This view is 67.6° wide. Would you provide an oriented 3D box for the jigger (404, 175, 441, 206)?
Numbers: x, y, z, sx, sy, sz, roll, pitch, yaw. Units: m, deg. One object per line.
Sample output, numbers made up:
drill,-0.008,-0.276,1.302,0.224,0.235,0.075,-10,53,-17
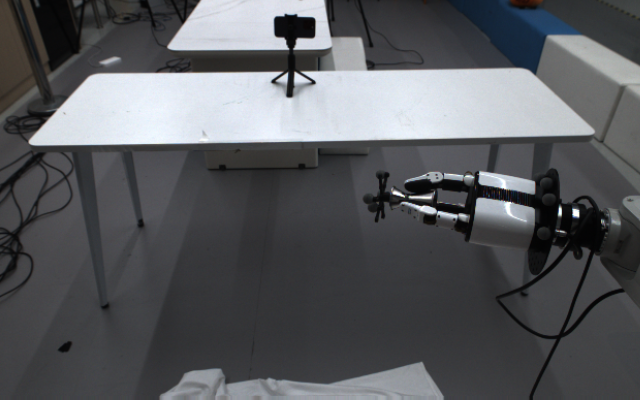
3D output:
jigger,0.154,-0.007,0.764,0.071,0.043,0.043,5,34,21
